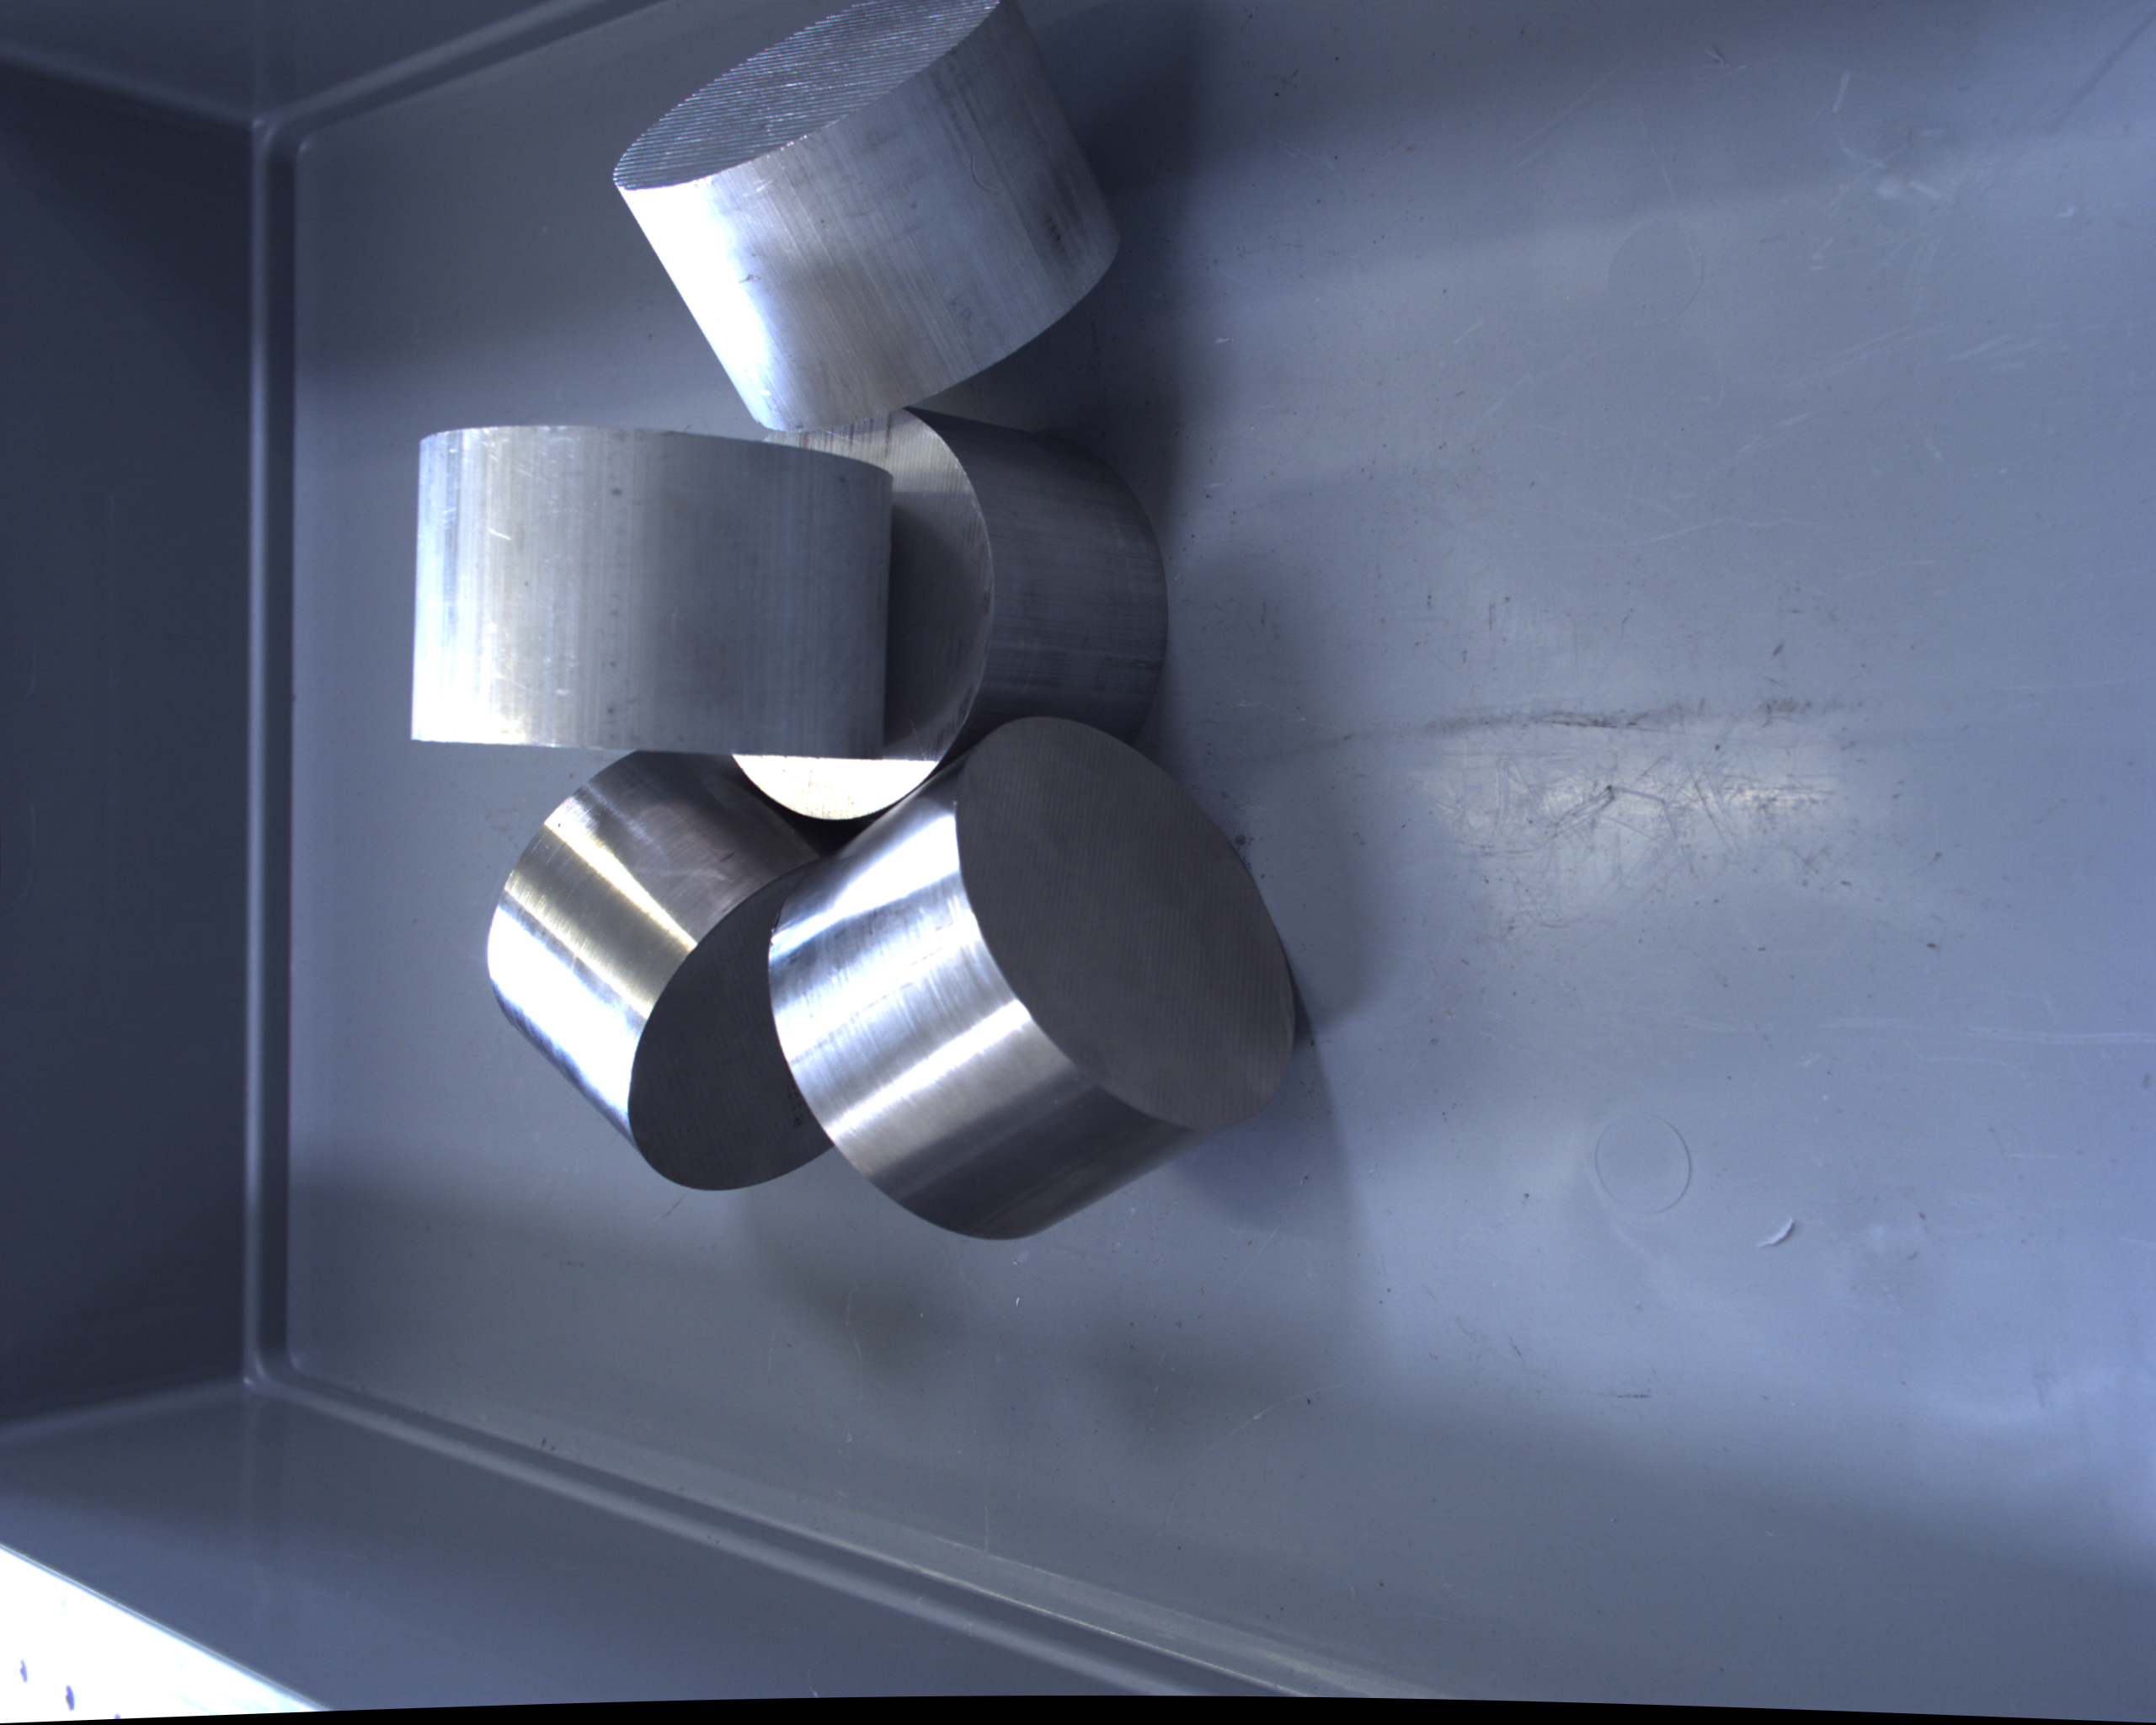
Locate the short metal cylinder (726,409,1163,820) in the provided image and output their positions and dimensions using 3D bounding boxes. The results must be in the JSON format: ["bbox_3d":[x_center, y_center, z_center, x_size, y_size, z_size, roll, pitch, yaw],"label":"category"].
[{"bbox_3d":[-0.030,-0.048,0.412,0.080,0.050,0.080,0,90,40],"label":"short metal cylinder"}]

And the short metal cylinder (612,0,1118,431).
[{"bbox_3d":[-0.039,-0.125,0.393,0.080,0.080,0.050,5,136,40],"label":"short metal cylinder"}]

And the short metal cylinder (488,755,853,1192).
[{"bbox_3d":[-0.072,0.020,0.428,0.050,0.081,0.079,36,112,34],"label":"short metal cylinder"}]

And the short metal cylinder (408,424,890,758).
[{"bbox_3d":[-0.074,-0.045,0.364,0.080,0.081,0.050,4,93,40],"label":"short metal cylinder"}]

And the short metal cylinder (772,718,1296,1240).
[{"bbox_3d":[-0.007,0.021,0.375,0.050,0.081,0.080,-36,68,35],"label":"short metal cylinder"}]
